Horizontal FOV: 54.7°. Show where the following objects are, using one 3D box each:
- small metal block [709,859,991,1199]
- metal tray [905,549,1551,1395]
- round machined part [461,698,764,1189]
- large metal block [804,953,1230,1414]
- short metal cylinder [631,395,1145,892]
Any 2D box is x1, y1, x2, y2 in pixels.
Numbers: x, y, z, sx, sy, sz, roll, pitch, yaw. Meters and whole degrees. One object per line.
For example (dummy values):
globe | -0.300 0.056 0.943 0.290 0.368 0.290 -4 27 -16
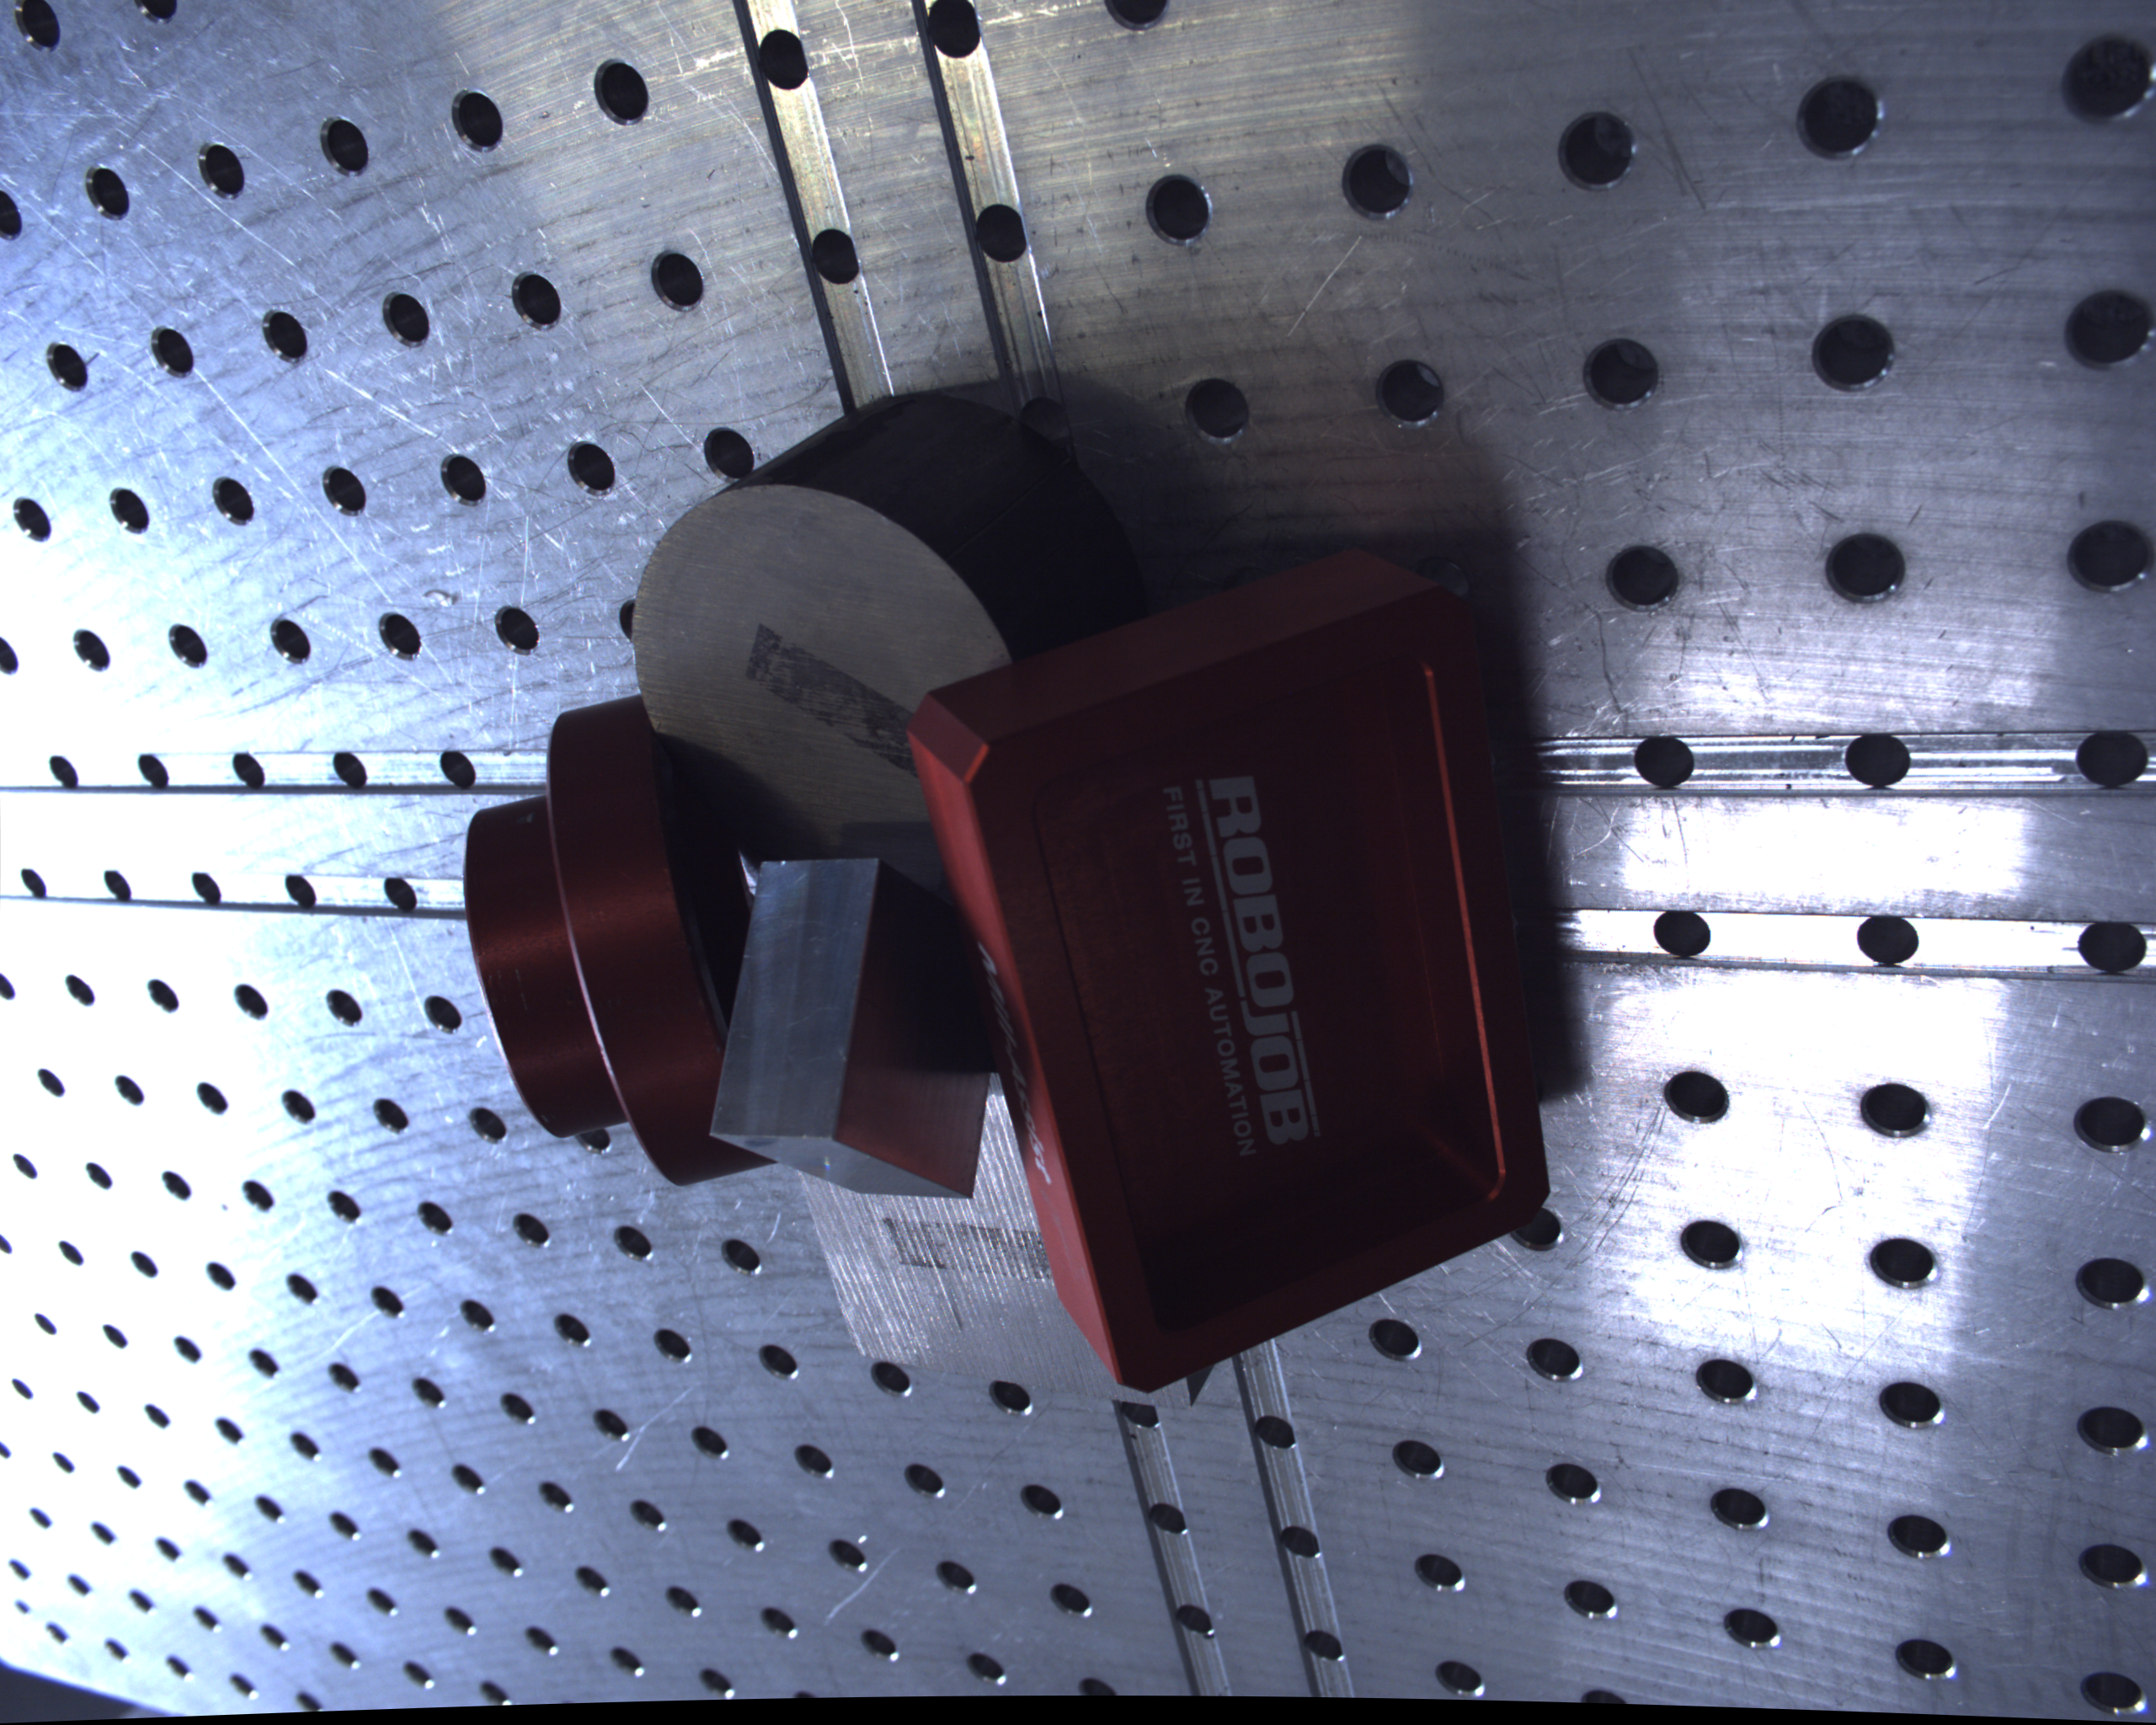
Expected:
small metal block | -0.038 0.031 0.380 0.025 0.050 0.050 -2 160 26
metal tray | 0.030 0.020 0.368 0.030 0.091 0.129 -137 31 -60
round machined part | -0.091 0.018 0.418 0.042 0.098 0.097 -14 116 -2
large metal block | -0.009 0.063 0.438 0.080 0.050 0.080 2 120 27
short metal cylinder | -0.034 -0.040 0.387 0.080 0.050 0.079 13 124 21
